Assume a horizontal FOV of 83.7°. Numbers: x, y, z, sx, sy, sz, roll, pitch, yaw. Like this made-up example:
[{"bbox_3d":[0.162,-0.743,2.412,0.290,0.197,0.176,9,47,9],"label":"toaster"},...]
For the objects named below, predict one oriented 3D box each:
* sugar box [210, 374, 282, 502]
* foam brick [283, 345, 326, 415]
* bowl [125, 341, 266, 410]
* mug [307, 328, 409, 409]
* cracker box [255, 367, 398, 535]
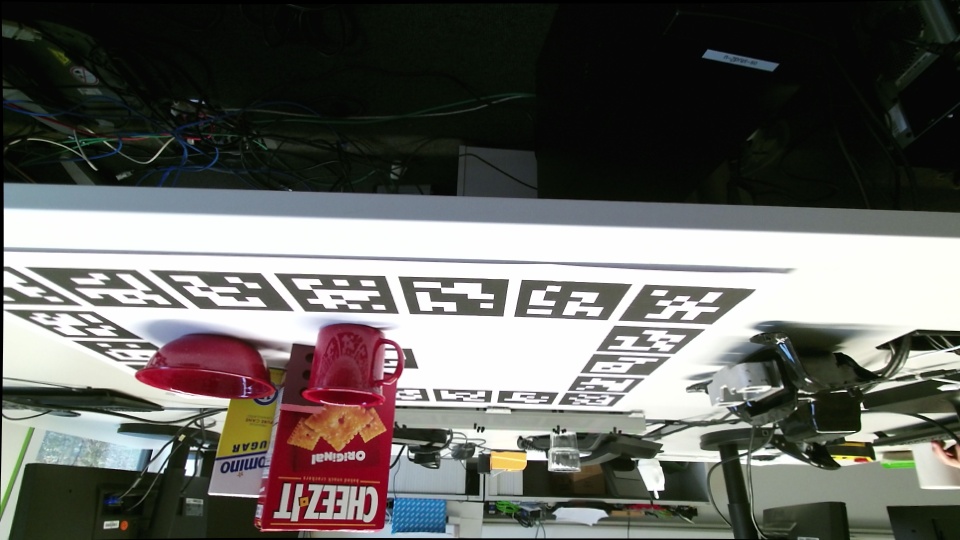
[{"bbox_3d":[-0.322,0.241,0.776,0.093,0.175,0.045,11,151,-20],"label":"sugar box"},{"bbox_3d":[-0.223,0.144,0.699,0.053,0.077,0.051,8,153,-15],"label":"foam brick"},{"bbox_3d":[-0.346,0.130,0.668,0.162,0.055,0.162,1,152,1],"label":"bowl"},{"bbox_3d":[-0.139,0.113,0.613,0.117,0.081,0.093,-4,161,6],"label":"mug"},{"bbox_3d":[-0.211,0.254,0.758,0.165,0.212,0.072,17,151,-26],"label":"cracker box"}]
